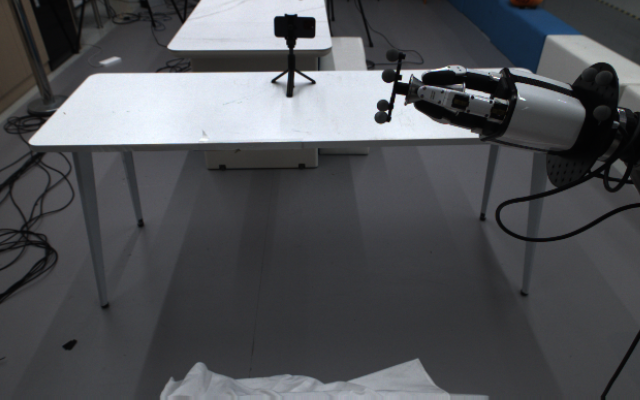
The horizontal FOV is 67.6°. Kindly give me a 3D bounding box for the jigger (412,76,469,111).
[{"bbox_3d":[0.152,-0.137,0.622,0.071,0.043,0.043,11,35,4],"label":"jigger"}]
